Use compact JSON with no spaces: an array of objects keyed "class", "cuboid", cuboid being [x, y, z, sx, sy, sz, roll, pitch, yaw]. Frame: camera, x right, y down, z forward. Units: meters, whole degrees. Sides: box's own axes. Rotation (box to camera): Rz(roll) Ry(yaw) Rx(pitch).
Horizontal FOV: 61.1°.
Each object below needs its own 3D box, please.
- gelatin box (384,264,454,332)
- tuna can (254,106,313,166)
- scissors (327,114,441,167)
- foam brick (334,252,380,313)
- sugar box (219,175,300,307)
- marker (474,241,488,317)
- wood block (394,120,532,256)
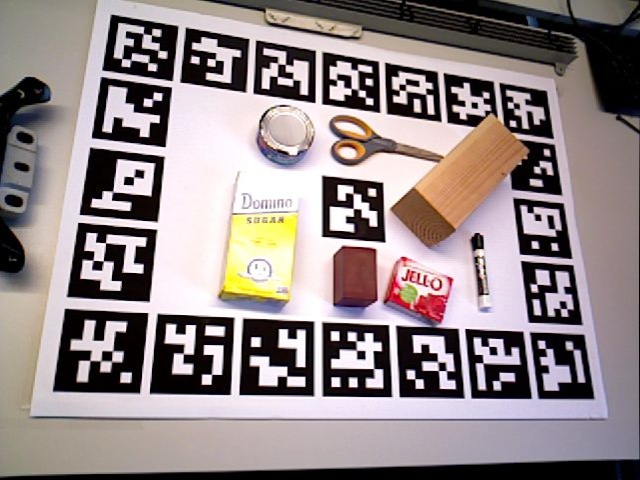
[{"class":"gelatin box","cuboid":[0.148,0.086,0.811,0.089,0.030,0.072,24,70,-7]},{"class":"tuna can","cuboid":[-0.056,-0.156,0.822,0.085,0.034,0.085,4,73,-14]},{"class":"scissors","cuboid":[0.106,-0.143,0.876,0.201,0.016,0.087,13,71,-9]},{"class":"foam brick","cuboid":[0.053,0.062,0.777,0.052,0.052,0.077,7,73,-13]},{"class":"sugar box","cuboid":[-0.084,0.001,0.767,0.092,0.046,0.175,10,72,-13]},{"class":"marker","cuboid":[0.252,0.060,0.851,0.019,0.020,0.120,7,75,-14]},{"class":"wood block","cuboid":[0.227,-0.082,0.853,0.090,0.092,0.202,47,67,3]}]
